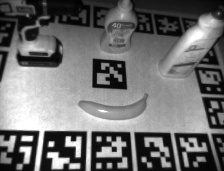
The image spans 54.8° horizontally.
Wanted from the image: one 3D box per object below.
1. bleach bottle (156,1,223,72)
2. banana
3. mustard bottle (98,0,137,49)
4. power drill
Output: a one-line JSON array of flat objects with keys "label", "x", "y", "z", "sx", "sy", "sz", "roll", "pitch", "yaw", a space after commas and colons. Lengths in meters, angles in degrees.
[{"label": "bleach bottle", "x": 0.213, "y": -0.128, "z": 0.598, "sx": 0.103, "sy": 0.251, "sz": 0.068, "roll": 11, "pitch": 62, "yaw": -5}, {"label": "banana", "x": 0.006, "y": 0.035, "z": 0.583, "sx": 0.198, "sy": 0.039, "sz": 0.074, "roll": -2, "pitch": 66, "yaw": -10}, {"label": "mustard bottle", "x": 0.019, "y": -0.184, "z": 0.622, "sx": 0.097, "sy": 0.191, "sz": 0.058, "roll": -3, "pitch": 64, "yaw": -14}, {"label": "power drill", "x": -0.163, "y": -0.169, "z": 0.541, "sx": 0.185, "sy": 0.187, "sz": 0.057, "roll": -3, "pitch": 64, "yaw": -8}]
